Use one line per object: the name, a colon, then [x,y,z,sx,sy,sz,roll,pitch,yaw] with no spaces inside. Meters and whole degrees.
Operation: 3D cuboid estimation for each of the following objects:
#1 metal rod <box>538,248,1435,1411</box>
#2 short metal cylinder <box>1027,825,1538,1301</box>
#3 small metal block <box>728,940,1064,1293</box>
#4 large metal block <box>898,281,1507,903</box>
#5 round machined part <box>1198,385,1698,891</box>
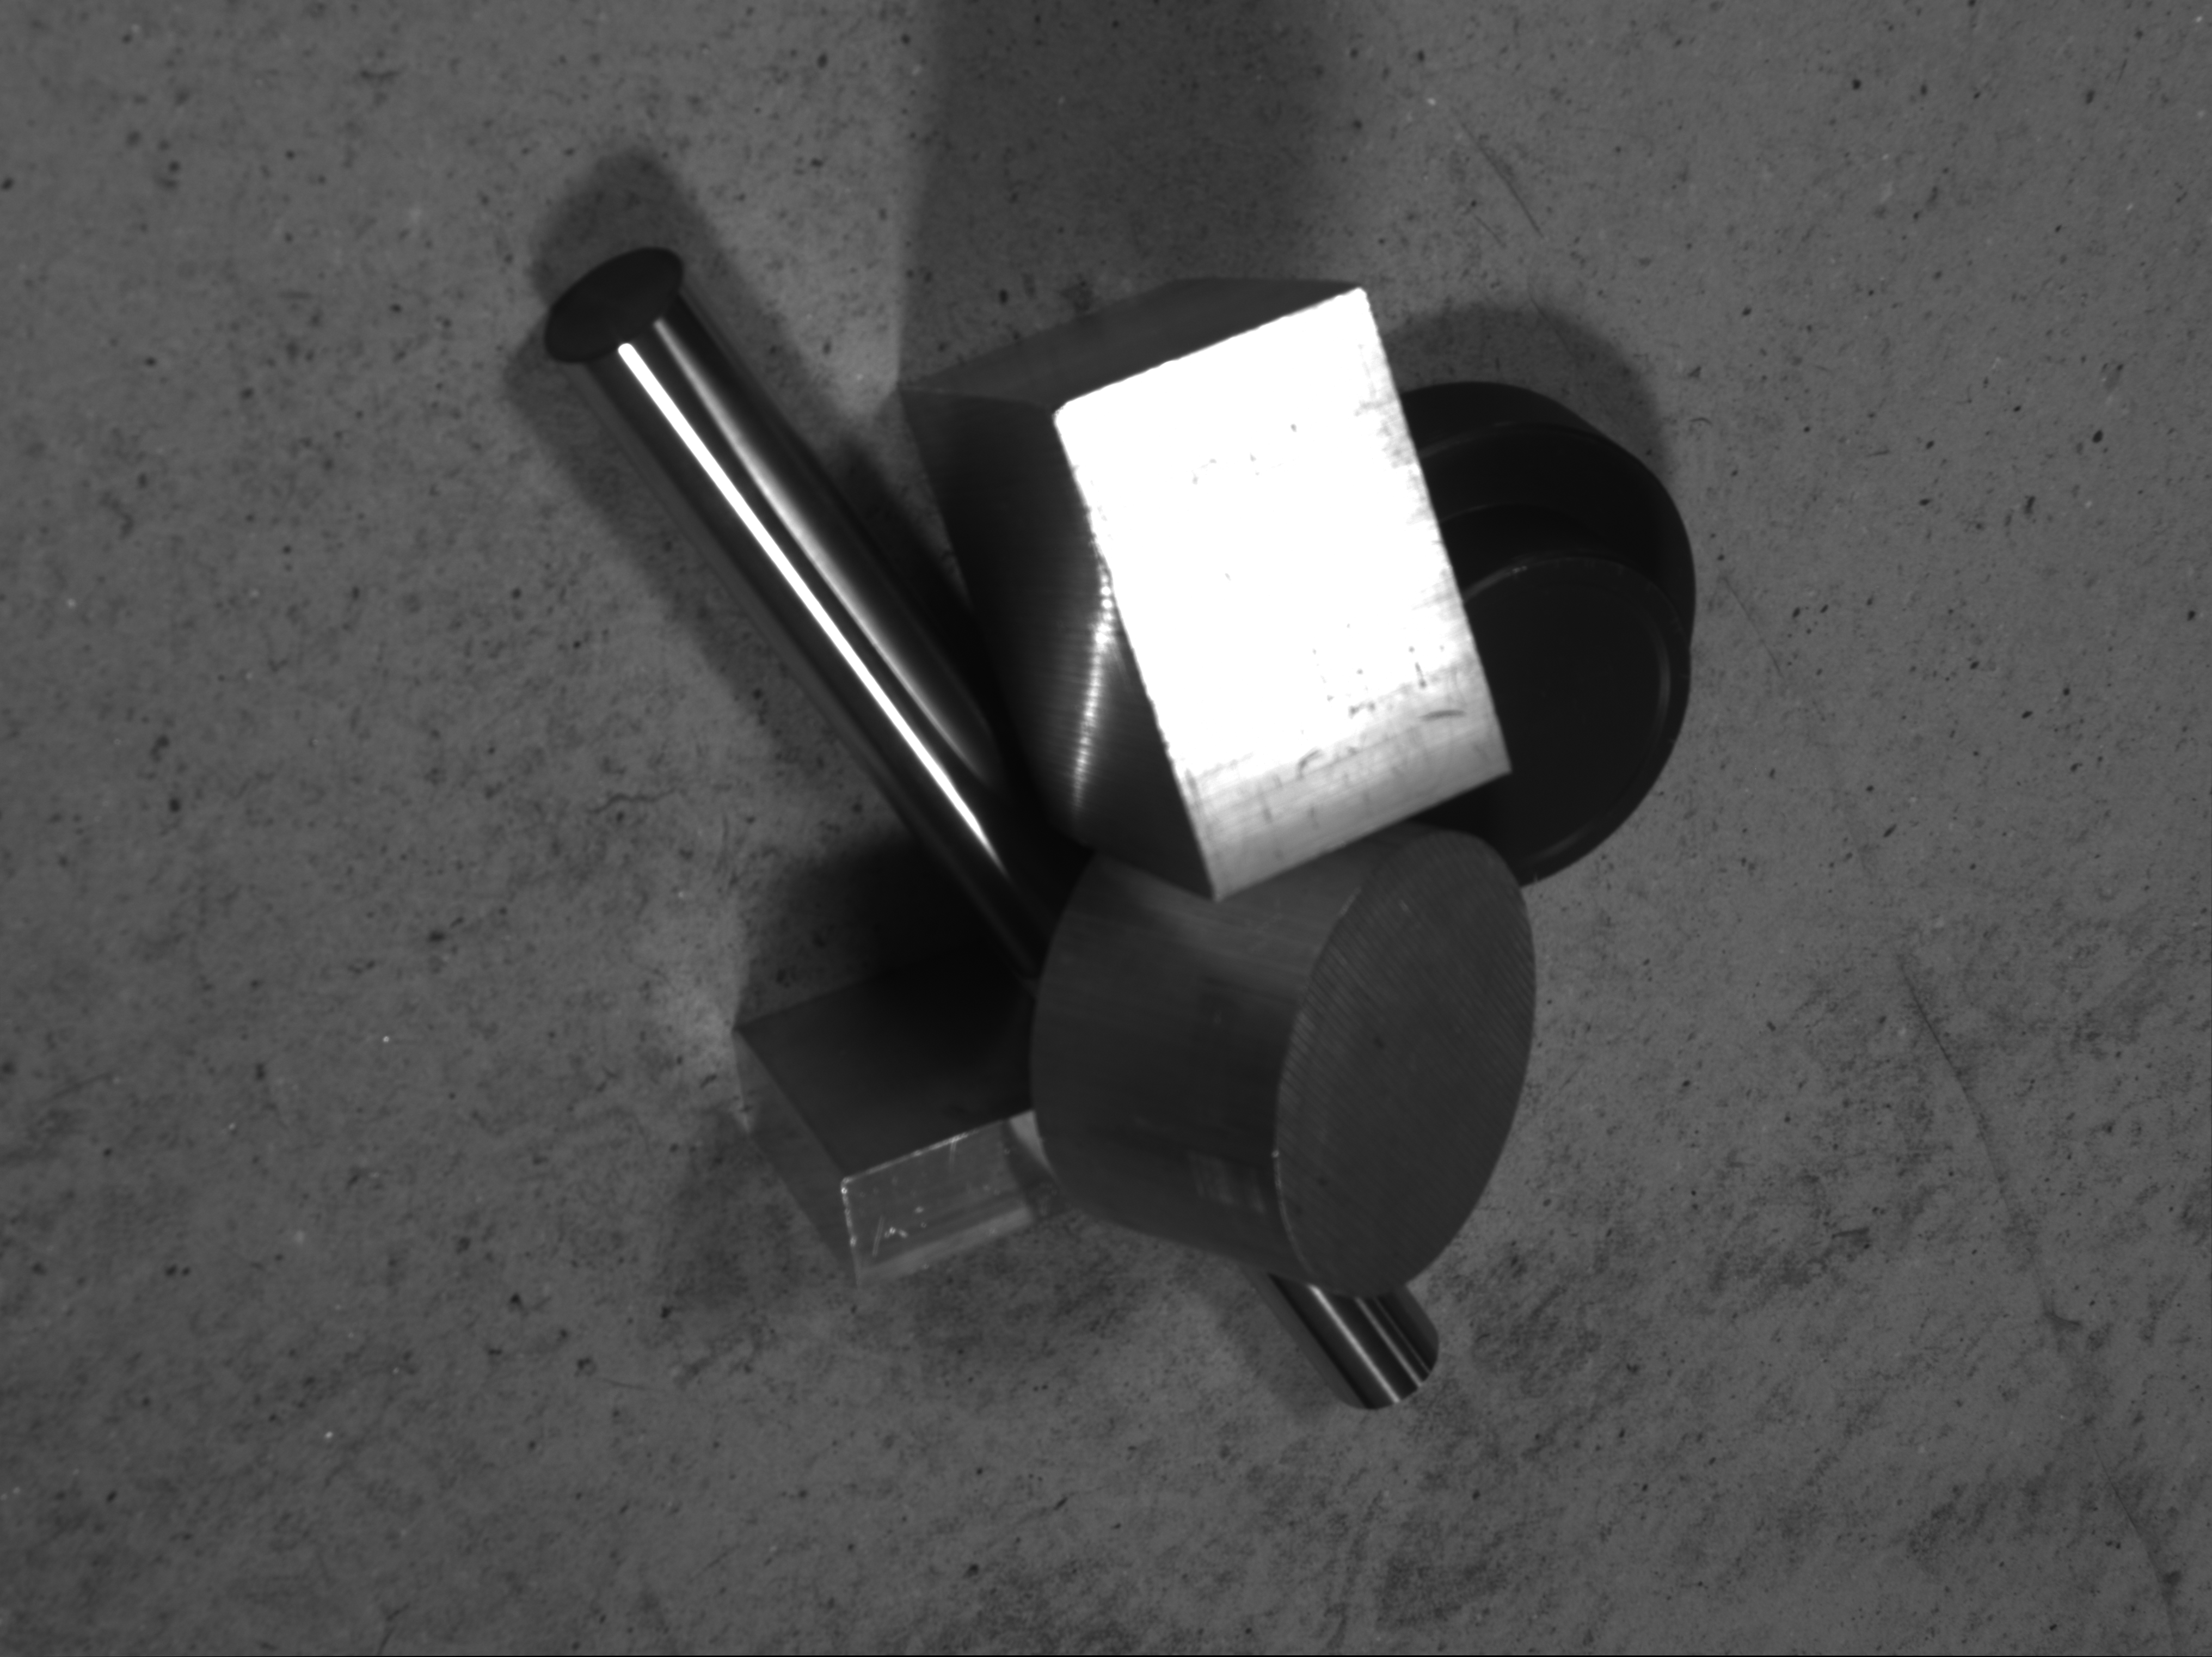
metal rod: [-0.010,0.014,0.655,0.025,0.025,0.301,-38,130,-4]
short metal cylinder: [0.031,0.035,0.626,0.080,0.050,0.080,-20,116,-49]
small metal block: [-0.033,0.050,0.647,0.050,0.050,0.025,-20,126,-19]
large metal block: [0.014,-0.041,0.584,0.050,0.080,0.080,-23,105,-15]
round machined part: [0.066,-0.027,0.661,0.098,0.042,0.098,-15,125,-22]
